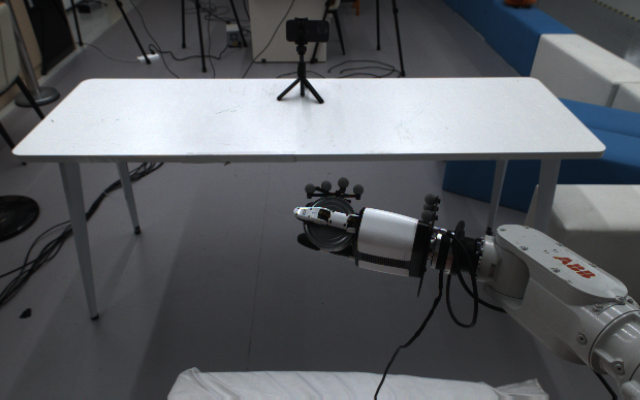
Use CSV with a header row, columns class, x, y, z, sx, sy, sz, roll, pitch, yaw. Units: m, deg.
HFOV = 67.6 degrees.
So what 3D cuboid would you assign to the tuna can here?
class,x,y,z,sx,sy,sz,roll,pitch,yaw
tuna can,0.019,0.039,0.772,0.085,0.034,0.085,-3,73,10
